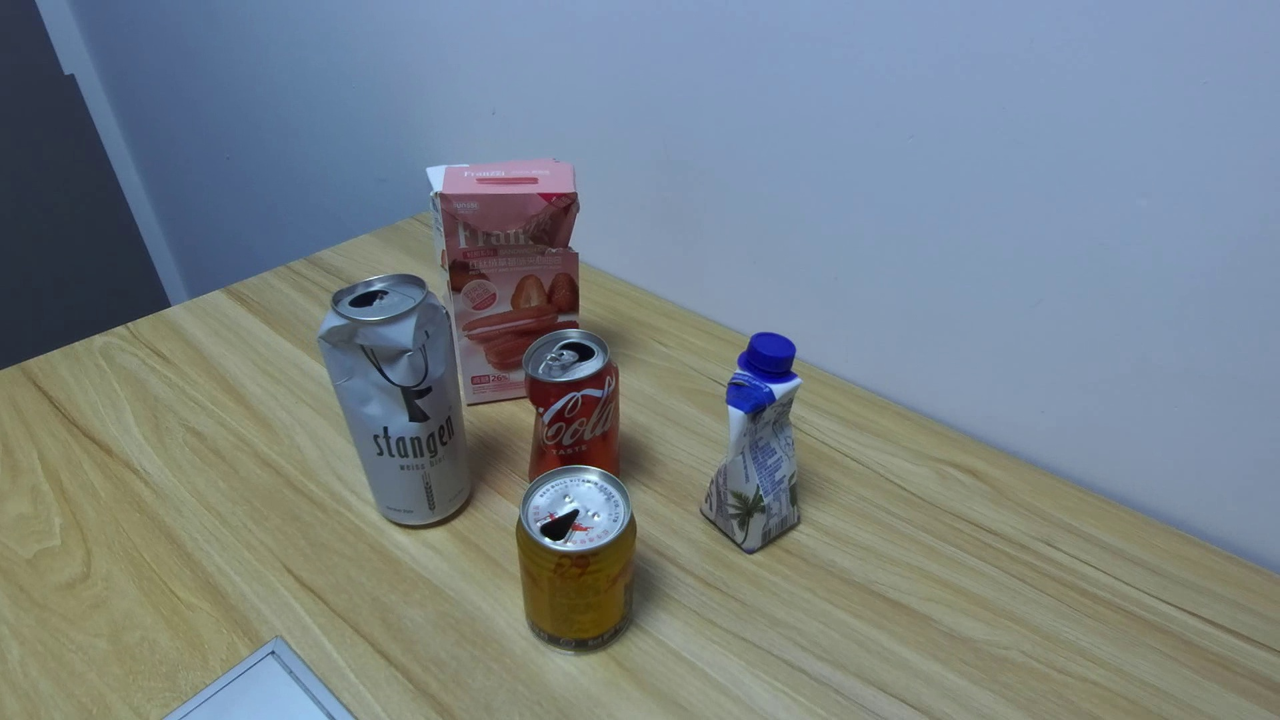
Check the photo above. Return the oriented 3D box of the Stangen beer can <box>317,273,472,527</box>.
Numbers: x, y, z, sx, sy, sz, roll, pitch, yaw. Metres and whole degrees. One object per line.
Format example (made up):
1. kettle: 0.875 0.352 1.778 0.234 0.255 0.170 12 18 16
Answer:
1. Stangen beer can: -0.150 0.029 0.450 0.066 0.166 0.066 7 36 7

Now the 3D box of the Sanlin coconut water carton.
1. Sanlin coconut water carton: 0.066 0.052 0.450 0.069 0.145 0.056 -31 40 -27

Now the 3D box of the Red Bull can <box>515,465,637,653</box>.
1. Red Bull can: -0.035 0.113 0.402 0.067 0.093 0.067 3 38 -2

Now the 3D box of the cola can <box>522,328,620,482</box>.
1. cola can: -0.044 0.041 0.480 0.065 0.117 0.072 1 39 -3

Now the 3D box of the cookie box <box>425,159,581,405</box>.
1. cookie box: -0.100 -0.057 0.548 0.105 0.186 0.059 -5 40 -12
